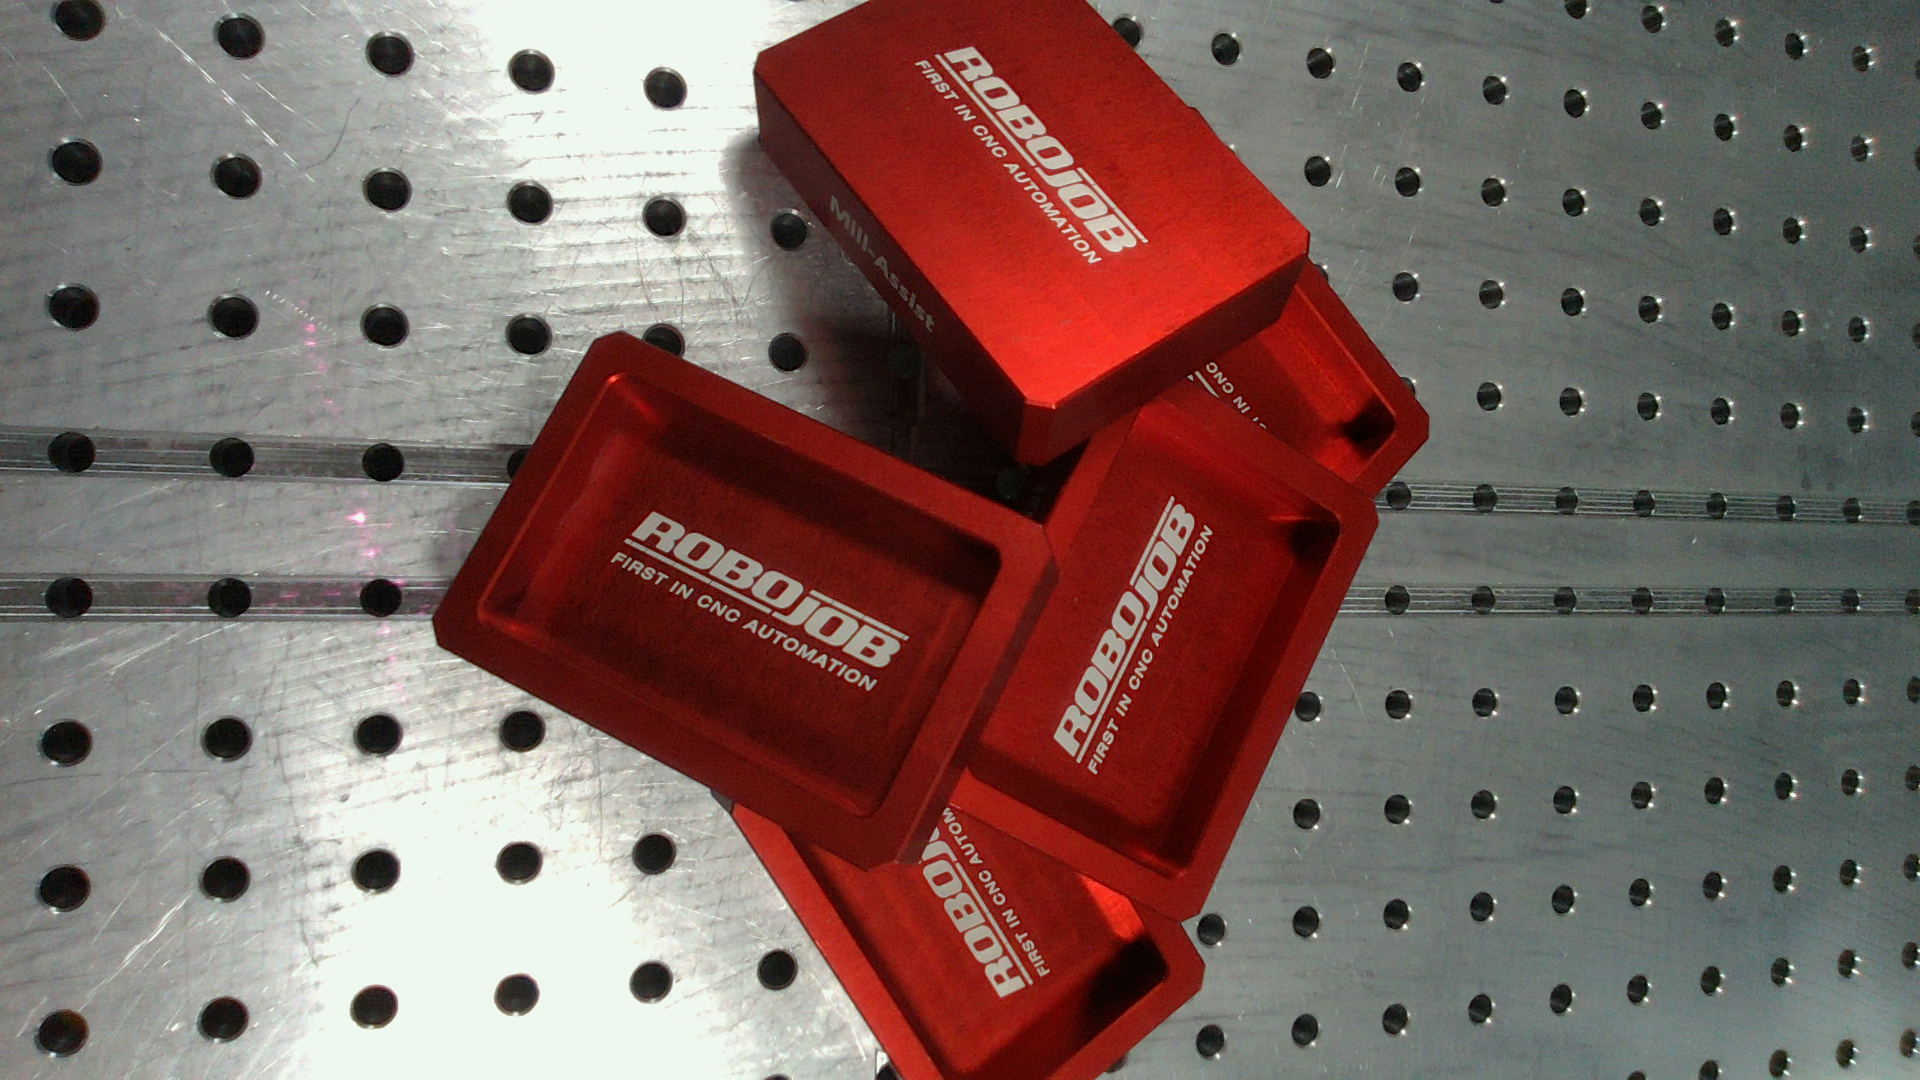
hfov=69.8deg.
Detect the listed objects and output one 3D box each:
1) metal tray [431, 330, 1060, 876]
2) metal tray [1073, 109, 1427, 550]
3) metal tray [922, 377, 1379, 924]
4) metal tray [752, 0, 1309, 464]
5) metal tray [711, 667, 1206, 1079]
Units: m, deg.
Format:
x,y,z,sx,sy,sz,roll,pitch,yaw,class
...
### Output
x,y,z,sx,sy,sz,roll,pitch,yaw,class
-0.052,0.014,0.342,0.130,0.030,0.090,25,80,12,metal tray
0.072,-0.052,0.419,0.090,0.030,0.130,-45,104,-14,metal tray
0.050,0.027,0.380,0.090,0.030,0.130,30,80,-18,metal tray
0.016,-0.094,0.367,0.090,0.030,0.130,-32,71,-17,metal tray
0.001,0.098,0.394,0.090,0.030,0.130,-34,101,-17,metal tray
